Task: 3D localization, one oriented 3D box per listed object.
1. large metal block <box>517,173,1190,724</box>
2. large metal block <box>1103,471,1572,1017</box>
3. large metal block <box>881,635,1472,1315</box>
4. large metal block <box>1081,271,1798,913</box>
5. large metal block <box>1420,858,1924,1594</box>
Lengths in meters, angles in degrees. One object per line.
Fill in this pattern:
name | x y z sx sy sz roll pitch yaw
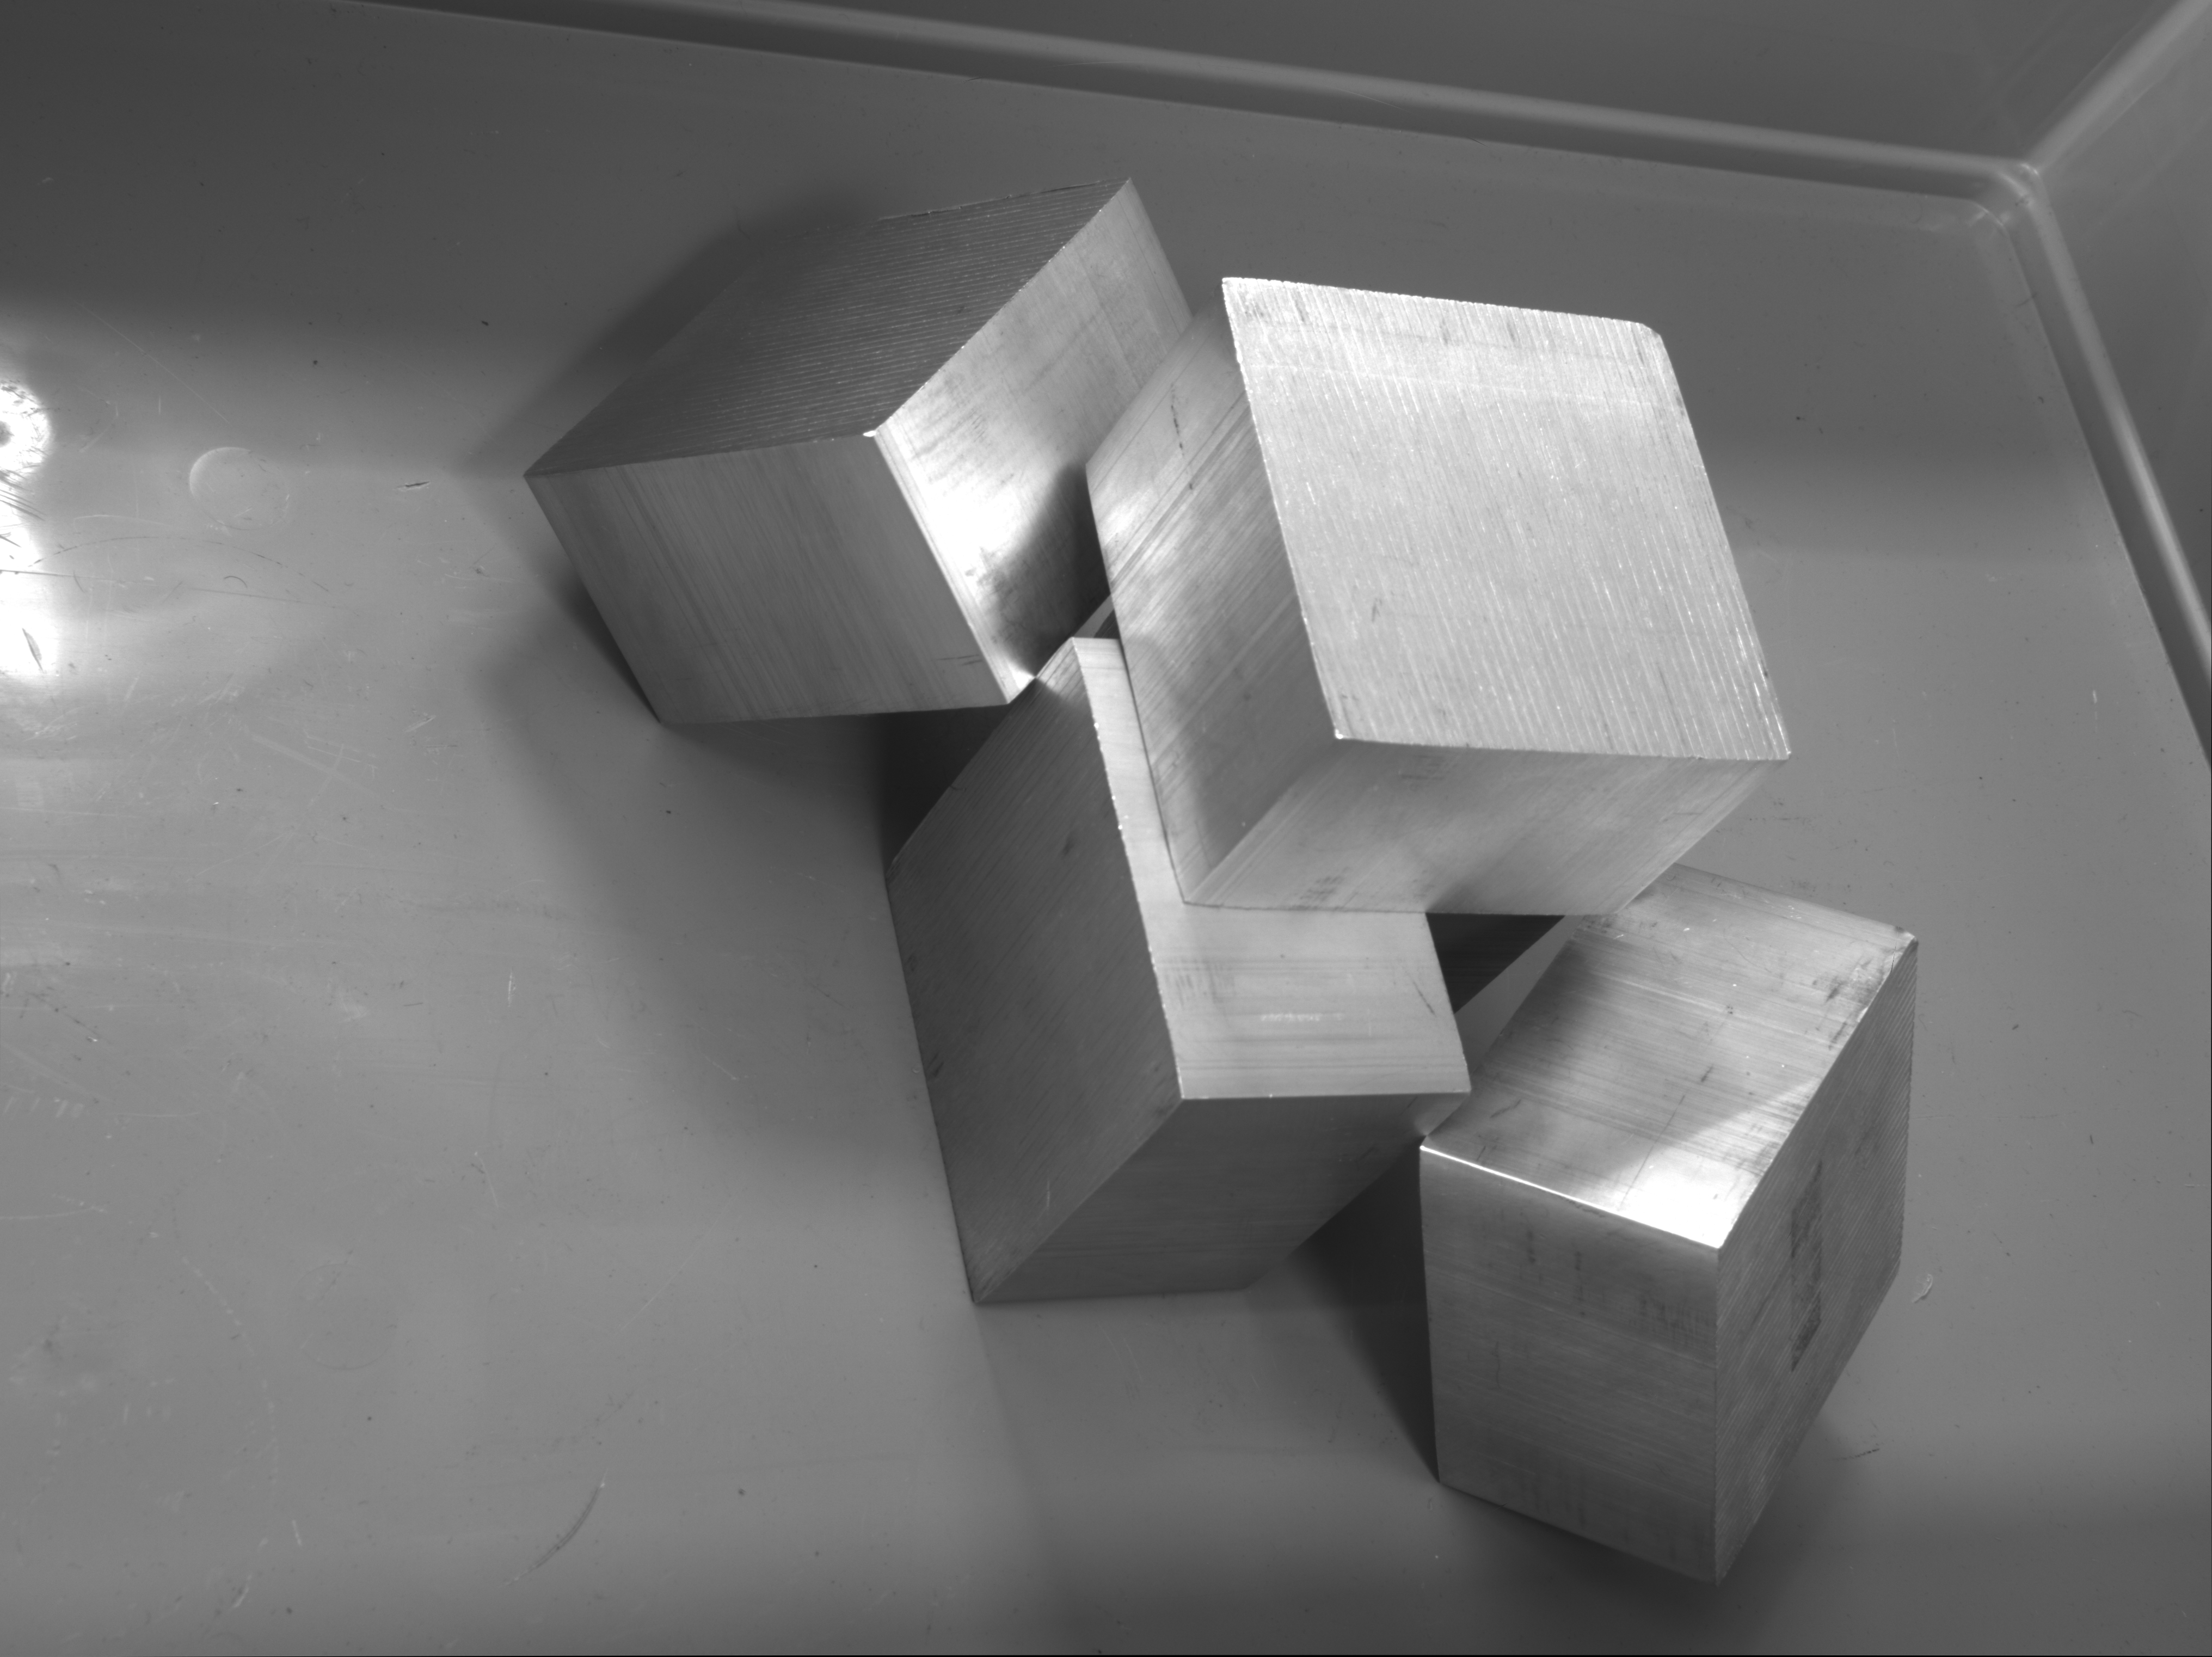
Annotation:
large metal block | -0.036 -0.063 0.612 0.080 0.080 0.050 -50 126 -39
large metal block | 0.045 -0.019 0.636 0.050 0.080 0.080 1 61 -28
large metal block | 0.008 0.025 0.592 0.050 0.080 0.080 1 61 -28
large metal block | 0.050 -0.035 0.566 0.080 0.050 0.080 2 61 -27
large metal block | 0.094 0.063 0.604 0.050 0.080 0.080 17 45 27
